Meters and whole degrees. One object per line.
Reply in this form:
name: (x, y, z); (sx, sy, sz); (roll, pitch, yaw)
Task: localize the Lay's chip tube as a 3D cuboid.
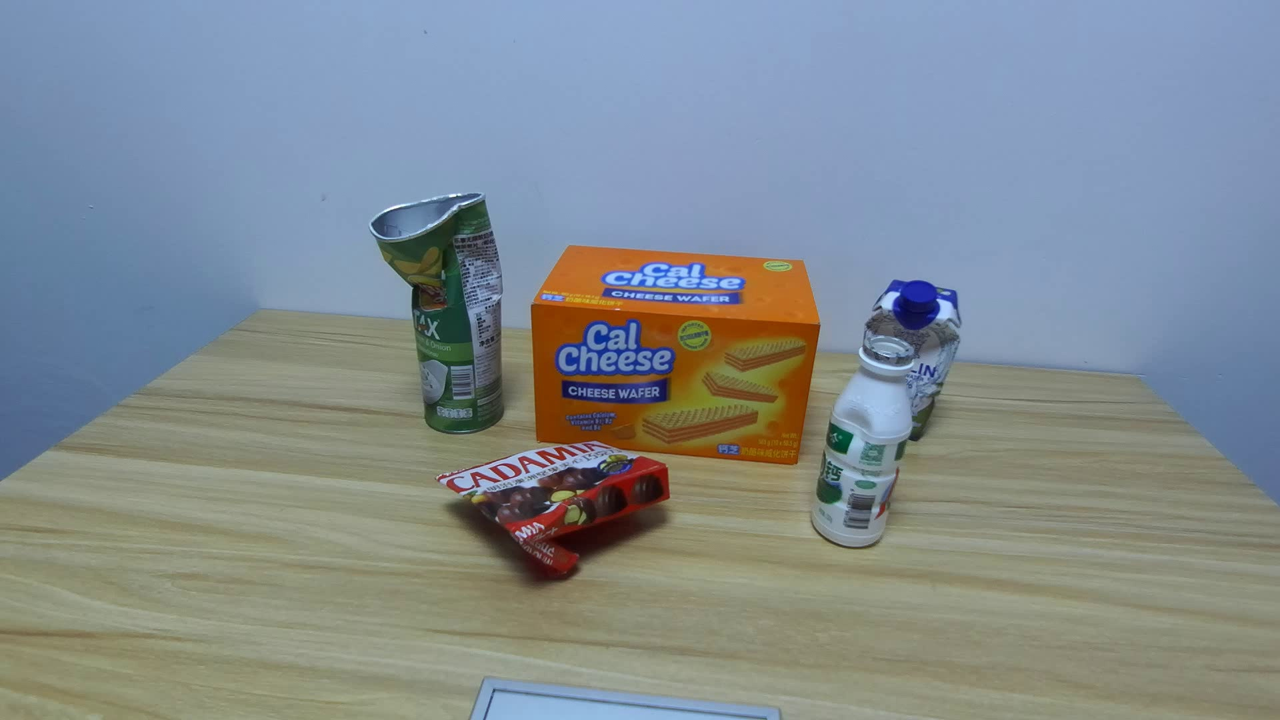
Lay's chip tube: (-0.156, -0.033, 0.576); (0.079, 0.199, 0.071); (11, 37, 19)

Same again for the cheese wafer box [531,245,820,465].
cheese wafer box: (0.032, -0.011, 0.614); (0.222, 0.129, 0.148); (4, 28, 4)

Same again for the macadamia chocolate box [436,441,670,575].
macadamia chocolate box: (-0.058, 0.091, 0.493); (0.127, 0.056, 0.111); (-20, 35, -35)

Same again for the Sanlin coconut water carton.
Sanlin coconut water carton: (0.229, -0.005, 0.607); (0.077, 0.142, 0.058); (14, 35, 23)

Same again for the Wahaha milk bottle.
Wahaha milk bottle: (0.151, 0.061, 0.475); (0.053, 0.137, 0.053); (2, 27, -1)
